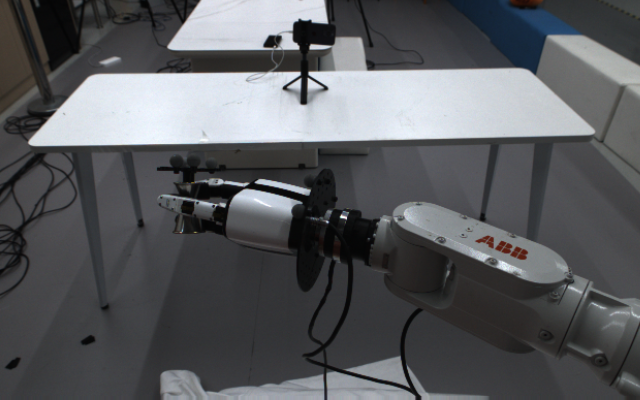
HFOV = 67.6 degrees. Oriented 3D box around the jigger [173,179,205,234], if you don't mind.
[{"bbox_3d":[-0.176,0.009,0.657,0.043,0.071,0.043,0,3,0],"label":"jigger"}]
